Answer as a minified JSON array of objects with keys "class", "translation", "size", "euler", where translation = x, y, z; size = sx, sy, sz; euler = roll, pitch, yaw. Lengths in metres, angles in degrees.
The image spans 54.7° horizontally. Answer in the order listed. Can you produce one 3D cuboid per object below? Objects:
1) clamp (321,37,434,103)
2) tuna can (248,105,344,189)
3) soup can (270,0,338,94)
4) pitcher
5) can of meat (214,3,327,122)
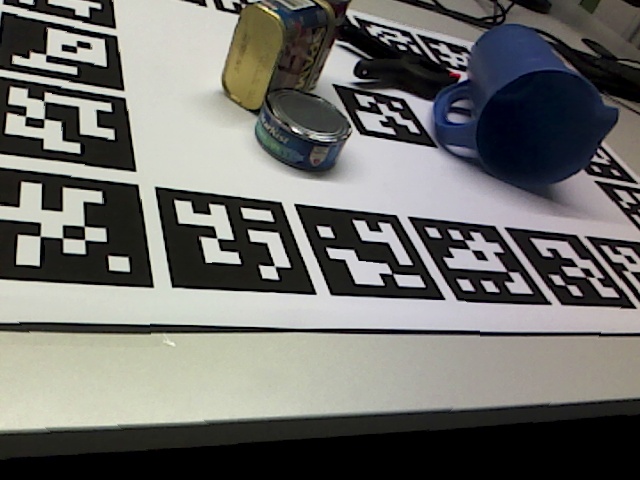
[{"class":"clamp","translation":[0.078,-0.214,0.806],"size":[0.164,0.036,0.122],"euler":[9,36,-28]},{"class":"tuna can","translation":[-0.023,-0.087,0.580],"size":[0.085,0.034,0.086],"euler":[16,40,-14]},{"class":"soup can","translation":[-0.029,-0.213,0.672],"size":[0.067,0.102,0.068],"euler":[14,41,-13]},{"class":"pitcher","translation":[0.231,-0.173,0.746],"size":[0.189,0.133,0.243],"euler":[1,32,3]},{"class":"can of meat","translation":[-0.050,-0.171,0.603],"size":[0.058,0.102,0.083],"euler":[40,43,14]}]
